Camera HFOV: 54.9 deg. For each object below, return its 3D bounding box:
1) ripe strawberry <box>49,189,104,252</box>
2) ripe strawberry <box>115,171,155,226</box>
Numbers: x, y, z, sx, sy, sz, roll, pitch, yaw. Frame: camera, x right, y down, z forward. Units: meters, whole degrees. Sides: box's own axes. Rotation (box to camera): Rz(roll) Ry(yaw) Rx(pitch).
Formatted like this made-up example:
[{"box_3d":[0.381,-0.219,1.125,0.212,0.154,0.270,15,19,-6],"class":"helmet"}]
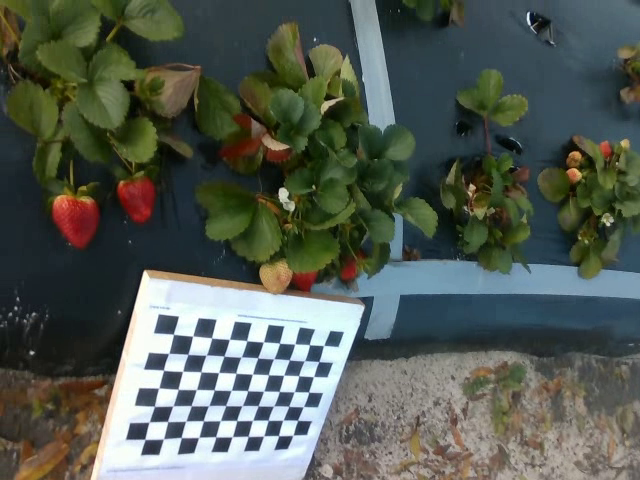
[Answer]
[{"box_3d":[-0.251,-0.017,0.644,0.050,0.061,0.045,0,-16,-25],"class":"ripe strawberry"},{"box_3d":[-0.196,-0.042,0.672,0.042,0.053,0.034,-6,-11,-23],"class":"ripe strawberry"}]
